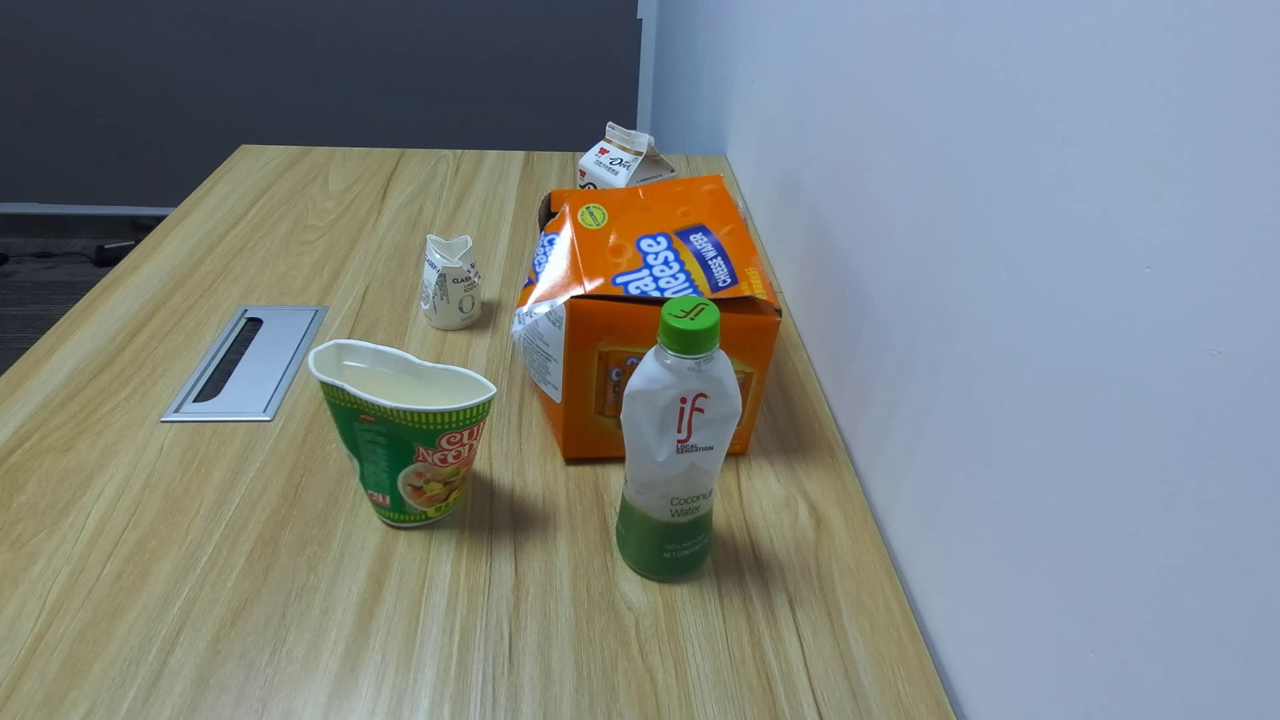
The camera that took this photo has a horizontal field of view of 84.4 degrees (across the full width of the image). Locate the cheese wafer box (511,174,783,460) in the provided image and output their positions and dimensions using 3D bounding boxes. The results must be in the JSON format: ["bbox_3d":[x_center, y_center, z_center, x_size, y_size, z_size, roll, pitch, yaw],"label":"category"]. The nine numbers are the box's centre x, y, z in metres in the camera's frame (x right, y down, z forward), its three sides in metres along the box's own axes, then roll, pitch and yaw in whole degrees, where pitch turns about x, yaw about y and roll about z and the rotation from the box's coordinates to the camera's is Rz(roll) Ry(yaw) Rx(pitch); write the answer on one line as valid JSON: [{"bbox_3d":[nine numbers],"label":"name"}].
[{"bbox_3d":[-0.006,-0.046,0.573,0.191,0.145,0.218,-2,38,-8],"label":"cheese wafer box"}]

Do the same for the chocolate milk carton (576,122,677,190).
[{"bbox_3d":[-0.014,-0.165,0.719,0.074,0.148,0.075,-26,47,-32],"label":"chocolate milk carton"}]

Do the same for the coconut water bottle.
[{"bbox_3d":[0.021,0.048,0.411,0.067,0.187,0.067,2,38,-2],"label":"coconut water bottle"}]

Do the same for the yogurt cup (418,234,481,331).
[{"bbox_3d":[-0.174,-0.071,0.651,0.055,0.072,0.055,5,38,-2],"label":"yogurt cup"}]

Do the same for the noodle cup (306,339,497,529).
[{"bbox_3d":[-0.153,0.047,0.465,0.114,0.111,0.070,29,45,30],"label":"noodle cup"}]
